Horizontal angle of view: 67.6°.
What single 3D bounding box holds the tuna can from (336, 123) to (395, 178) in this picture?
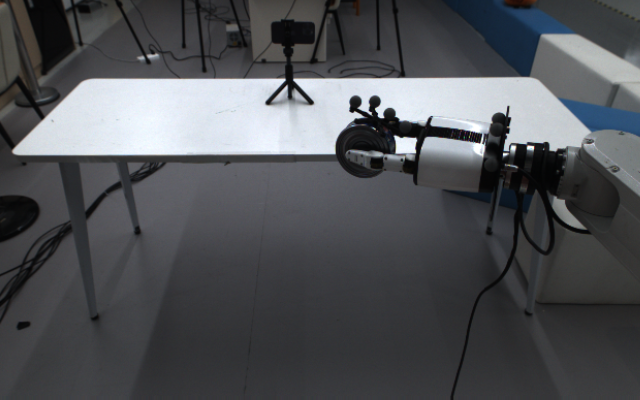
[{"bbox_3d":[0.070,-0.070,0.715,0.085,0.085,0.034,15,31,18],"label":"tuna can"}]
